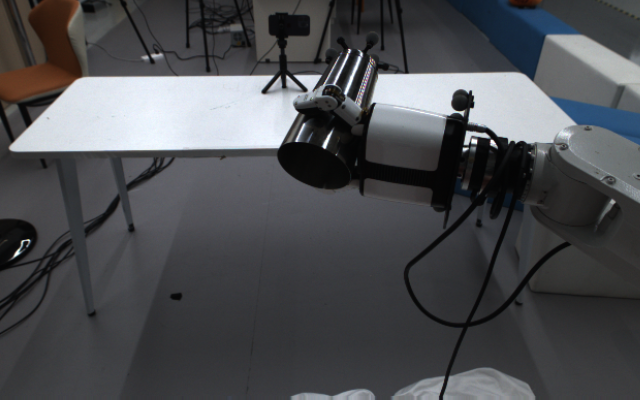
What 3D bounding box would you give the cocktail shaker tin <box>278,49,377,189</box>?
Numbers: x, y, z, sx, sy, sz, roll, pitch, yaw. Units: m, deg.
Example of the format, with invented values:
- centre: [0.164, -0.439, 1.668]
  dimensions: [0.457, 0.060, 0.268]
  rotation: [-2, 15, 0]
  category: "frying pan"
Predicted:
- centre: [0.019, -0.108, 0.608]
  dimensions: [0.093, 0.093, 0.170]
  rotation: [13, 60, 16]
  category: "cocktail shaker tin"
